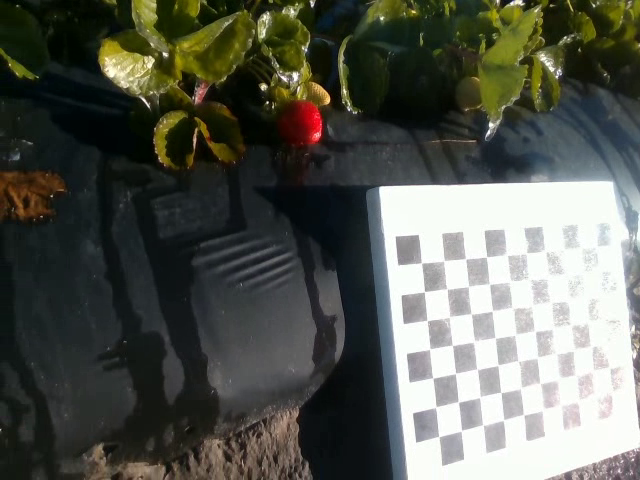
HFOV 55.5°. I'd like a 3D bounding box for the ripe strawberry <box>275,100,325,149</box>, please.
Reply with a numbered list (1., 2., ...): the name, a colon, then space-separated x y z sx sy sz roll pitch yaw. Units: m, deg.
1. ripe strawberry: -0.008 -0.070 0.380 0.039 0.040 0.039 -14 27 -17
